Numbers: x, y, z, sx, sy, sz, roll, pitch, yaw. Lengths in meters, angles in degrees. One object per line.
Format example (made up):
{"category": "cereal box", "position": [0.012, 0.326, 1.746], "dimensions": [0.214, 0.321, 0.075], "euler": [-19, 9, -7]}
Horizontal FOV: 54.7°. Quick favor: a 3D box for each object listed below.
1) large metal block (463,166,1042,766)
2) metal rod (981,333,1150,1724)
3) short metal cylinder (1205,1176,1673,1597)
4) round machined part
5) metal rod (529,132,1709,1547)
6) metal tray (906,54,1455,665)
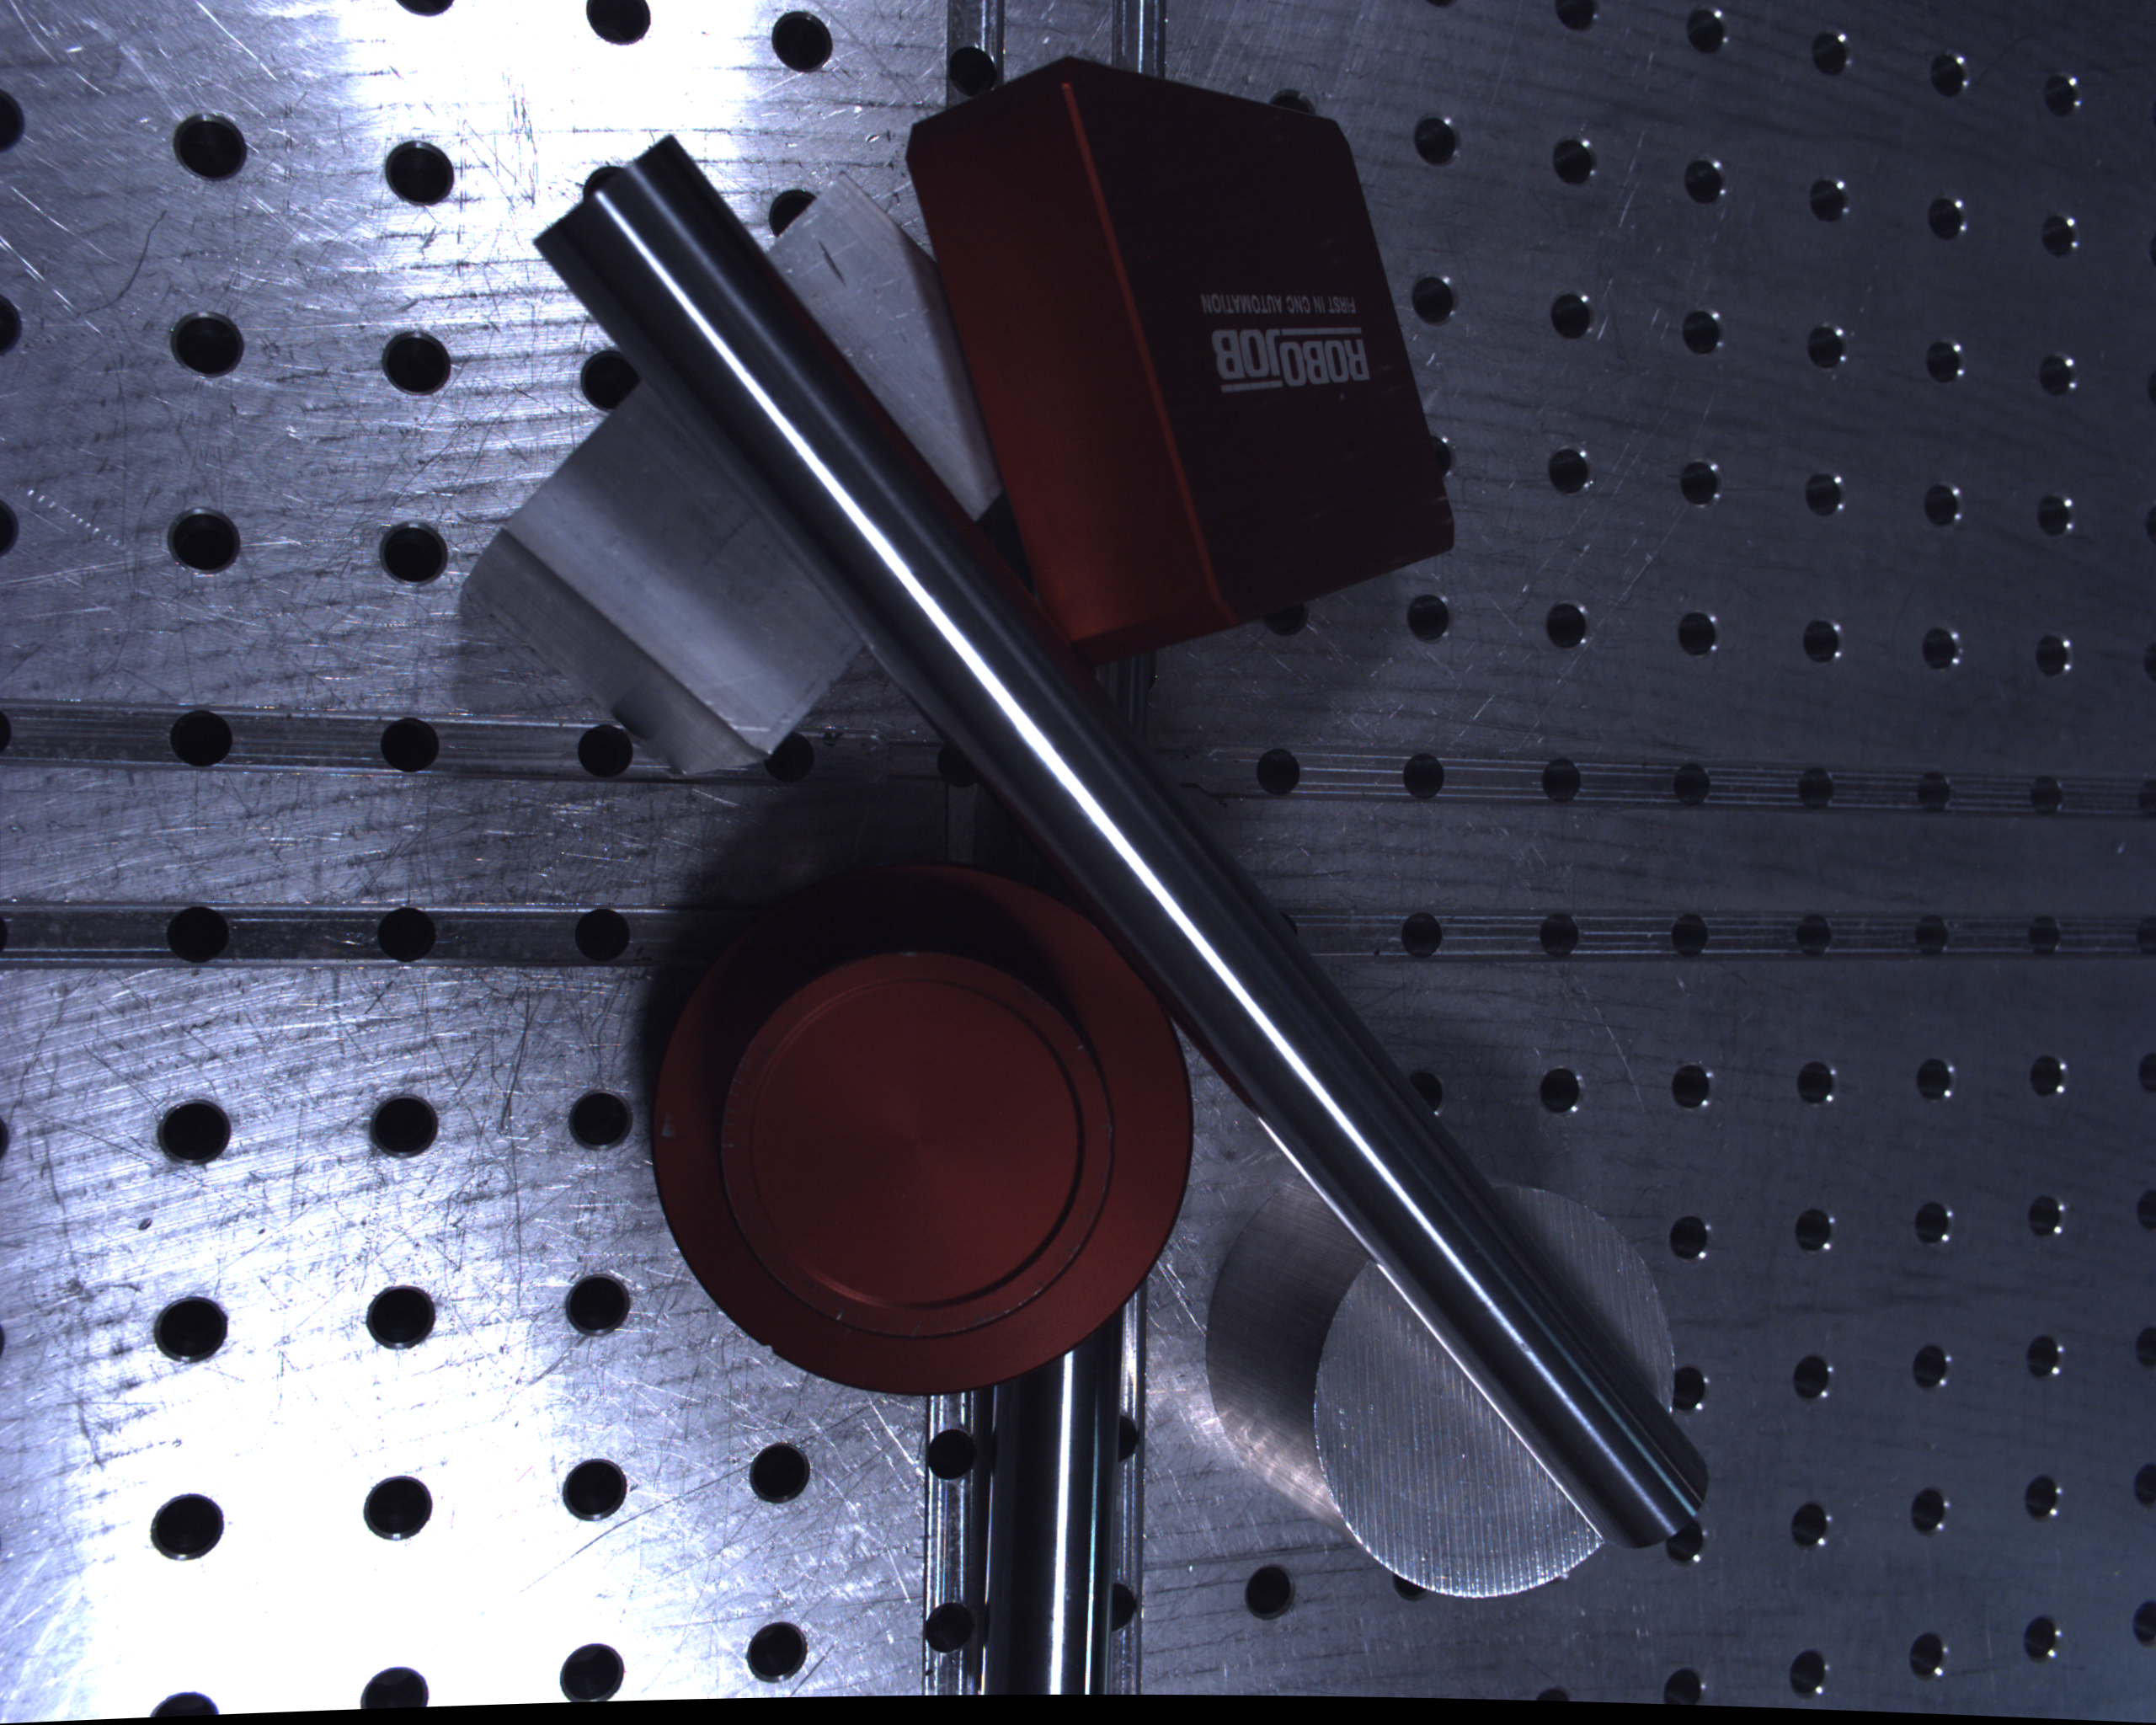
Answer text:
{"category": "large metal block", "position": [-0.058, -0.064, 0.363], "dimensions": [0.050, 0.080, 0.080], "euler": [43, 76, -15]}
{"category": "metal rod", "position": [-0.001, 0.020, 0.413], "dimensions": [0.025, 0.025, 0.298], "euler": [3, 89, -20]}
{"category": "short metal cylinder", "position": [0.073, 0.102, 0.428], "dimensions": [0.081, 0.050, 0.079], "euler": [0, 90, -21]}
{"category": "round machined part", "position": [-0.027, 0.049, 0.378], "dimensions": [0.099, 0.042, 0.097], "euler": [0, 90, -3]}
{"category": "metal rod", "position": [0.021, 0.013, 0.346], "dimensions": [0.025, 0.025, 0.300], "euler": [-45, 112, -14]}
{"category": "metal tray", "position": [0.026, -0.090, 0.378], "dimensions": [0.131, 0.030, 0.089], "euler": [-27, 102, -61]}
